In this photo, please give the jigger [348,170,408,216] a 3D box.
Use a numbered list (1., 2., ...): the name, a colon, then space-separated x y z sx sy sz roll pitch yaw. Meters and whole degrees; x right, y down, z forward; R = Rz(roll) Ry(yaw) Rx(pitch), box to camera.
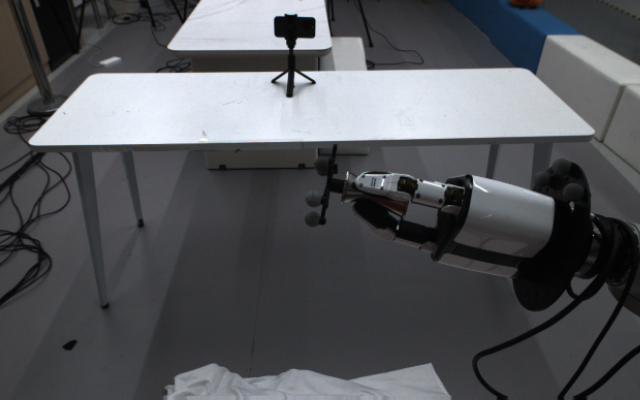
1. jigger: 0.066 -0.011 0.517 0.071 0.043 0.043 11 35 3
